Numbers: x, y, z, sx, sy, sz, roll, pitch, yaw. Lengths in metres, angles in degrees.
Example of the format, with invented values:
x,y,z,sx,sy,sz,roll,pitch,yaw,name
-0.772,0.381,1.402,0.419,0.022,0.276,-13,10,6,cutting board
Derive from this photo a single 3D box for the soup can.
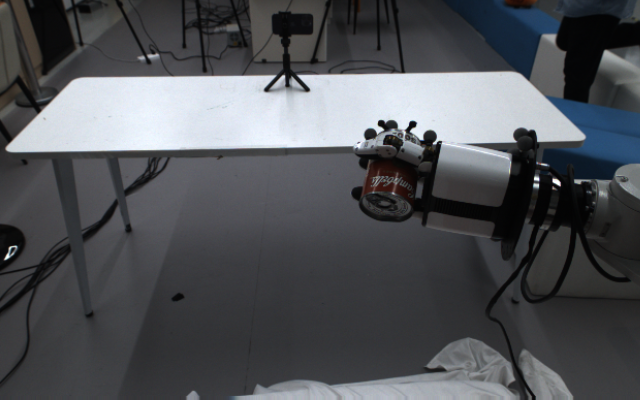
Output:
x,y,z,sx,sy,sz,roll,pitch,yaw,name
0.093,-0.032,0.615,0.067,0.067,0.101,9,58,10,soup can
